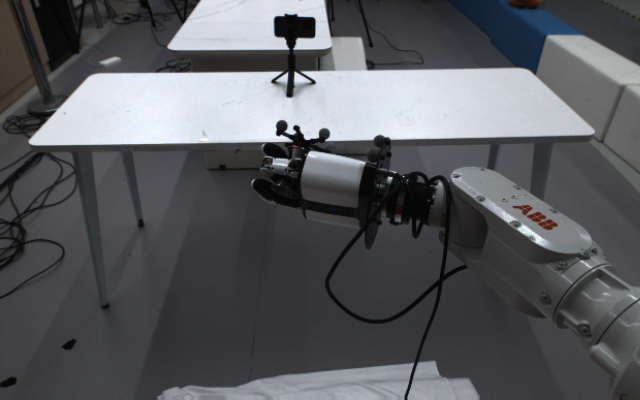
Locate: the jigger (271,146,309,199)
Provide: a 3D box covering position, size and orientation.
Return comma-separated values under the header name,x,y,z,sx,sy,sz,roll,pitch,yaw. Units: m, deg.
name,x,y,z,sx,sy,sz,roll,pitch,yaw
jigger,-0.038,-0.041,0.715,0.043,0.043,0.071,13,70,16
